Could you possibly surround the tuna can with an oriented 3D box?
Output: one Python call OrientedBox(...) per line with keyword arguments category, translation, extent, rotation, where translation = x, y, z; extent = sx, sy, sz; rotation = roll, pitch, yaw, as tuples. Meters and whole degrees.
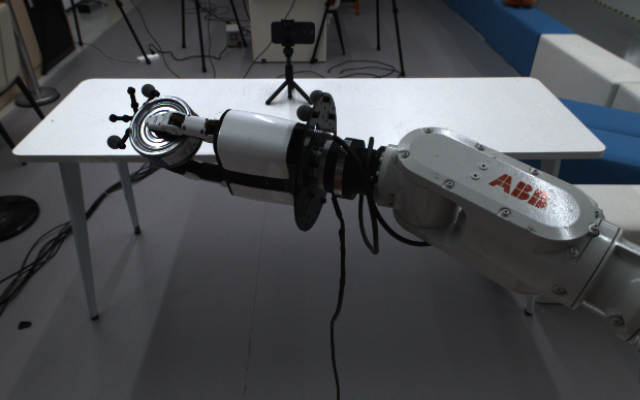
OrientedBox(category="tuna can", translation=(-0.189, -0.086, 0.601), extent=(0.085, 0.034, 0.085), rotation=(-3, 70, 10))
